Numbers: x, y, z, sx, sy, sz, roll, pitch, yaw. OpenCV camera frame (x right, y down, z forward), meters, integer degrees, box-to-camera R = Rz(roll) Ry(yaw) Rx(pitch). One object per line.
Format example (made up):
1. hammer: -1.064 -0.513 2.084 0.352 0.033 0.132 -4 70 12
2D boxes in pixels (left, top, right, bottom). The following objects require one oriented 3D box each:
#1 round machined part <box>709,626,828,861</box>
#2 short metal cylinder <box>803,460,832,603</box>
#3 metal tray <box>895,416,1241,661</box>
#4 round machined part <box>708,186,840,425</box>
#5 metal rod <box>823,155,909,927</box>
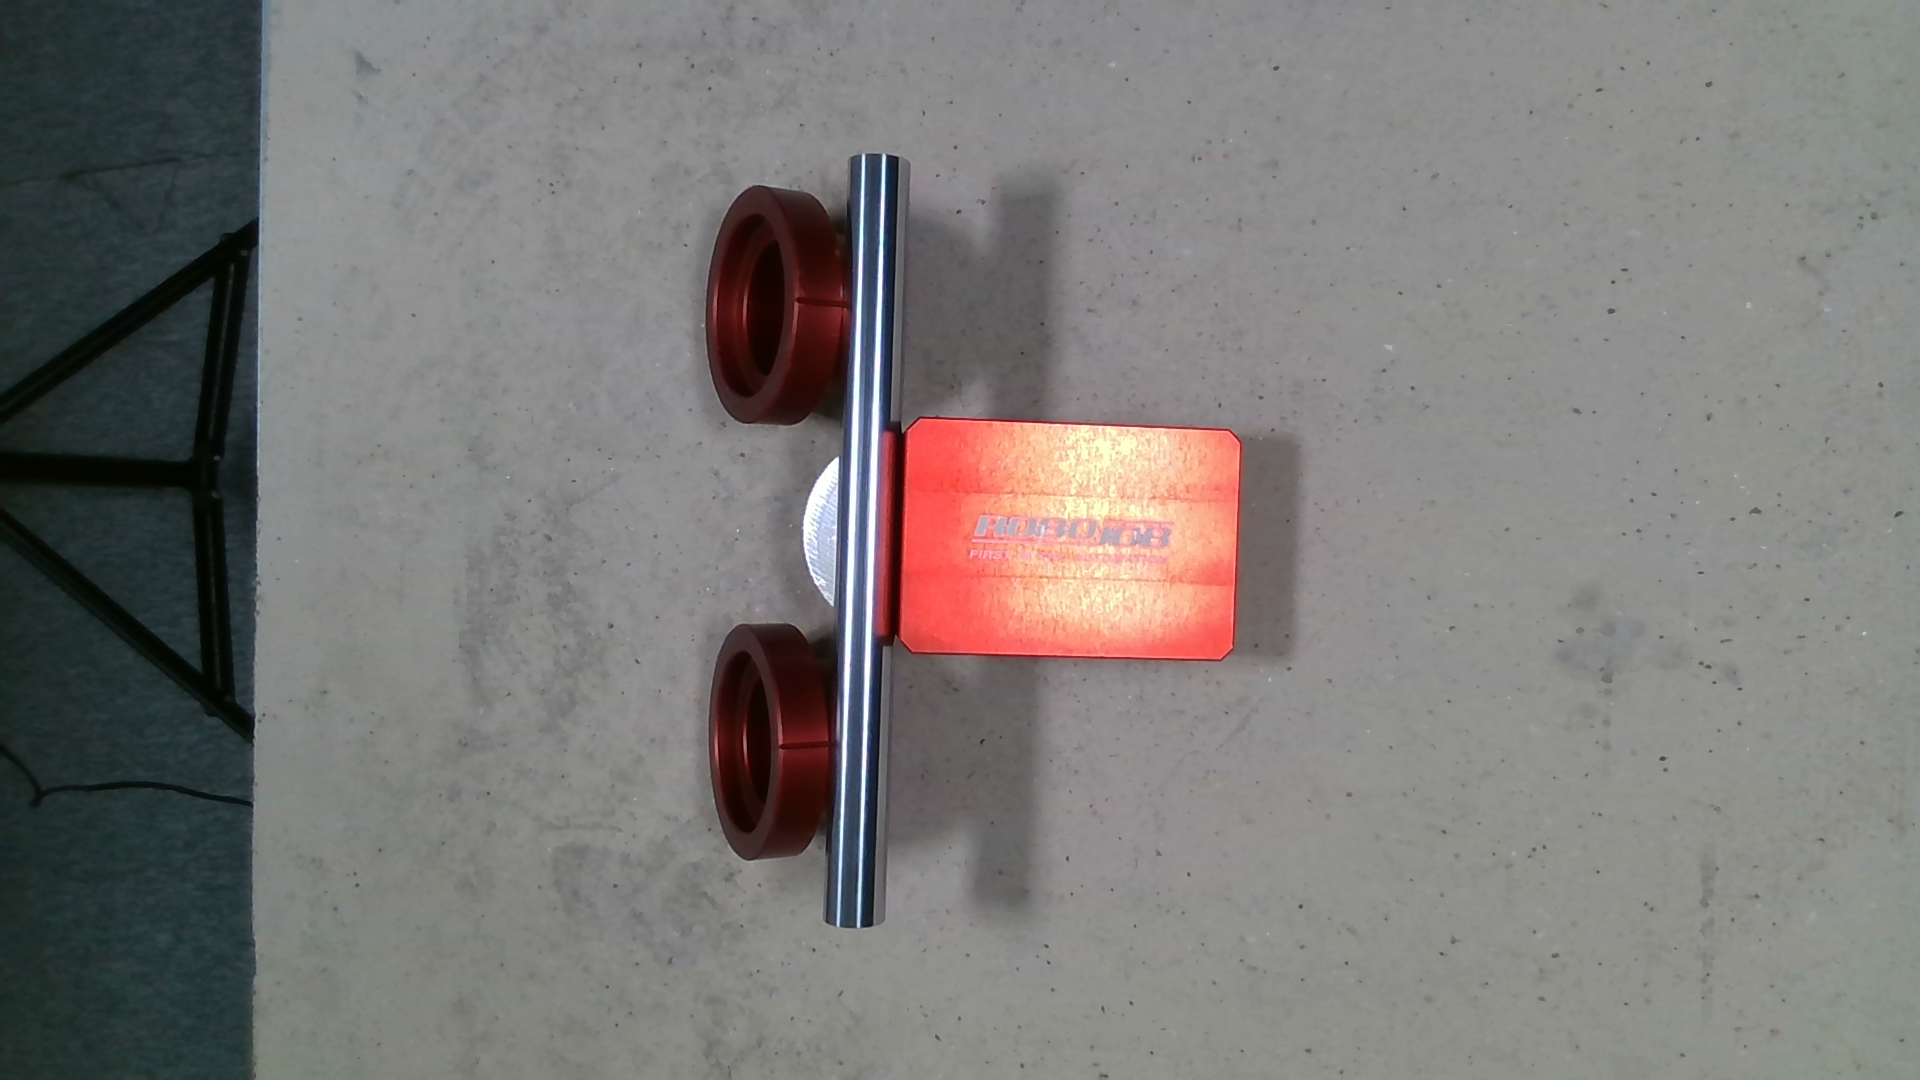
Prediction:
1. round machined part: -0.074 0.085 0.586 0.098 0.042 0.098 -1 88 63
2. short metal cylinder: -0.019 -0.003 0.580 0.080 0.050 0.080 0 90 20
3. metal tray: 0.041 0.000 0.539 0.130 0.030 0.090 2 91 -6
4. round machined part: -0.071 -0.098 0.585 0.098 0.042 0.098 3 93 58
5. metal rod: -0.037 0.001 0.547 0.025 0.025 0.300 2 91 20
